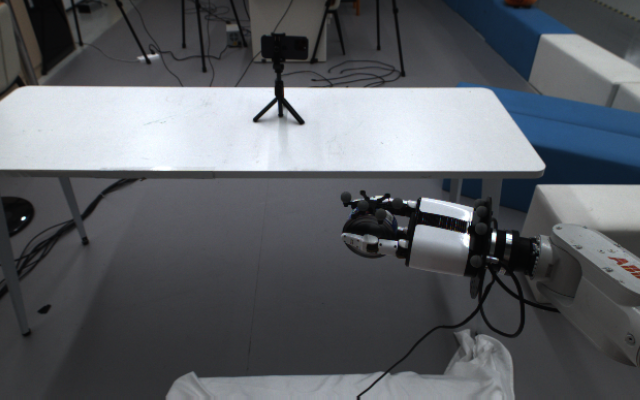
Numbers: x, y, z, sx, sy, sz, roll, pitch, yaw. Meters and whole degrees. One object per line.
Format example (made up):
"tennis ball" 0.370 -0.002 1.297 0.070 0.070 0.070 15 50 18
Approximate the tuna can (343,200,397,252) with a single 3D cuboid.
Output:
"tuna can" 0.082 0.046 0.771 0.085 0.085 0.034 10 34 12
